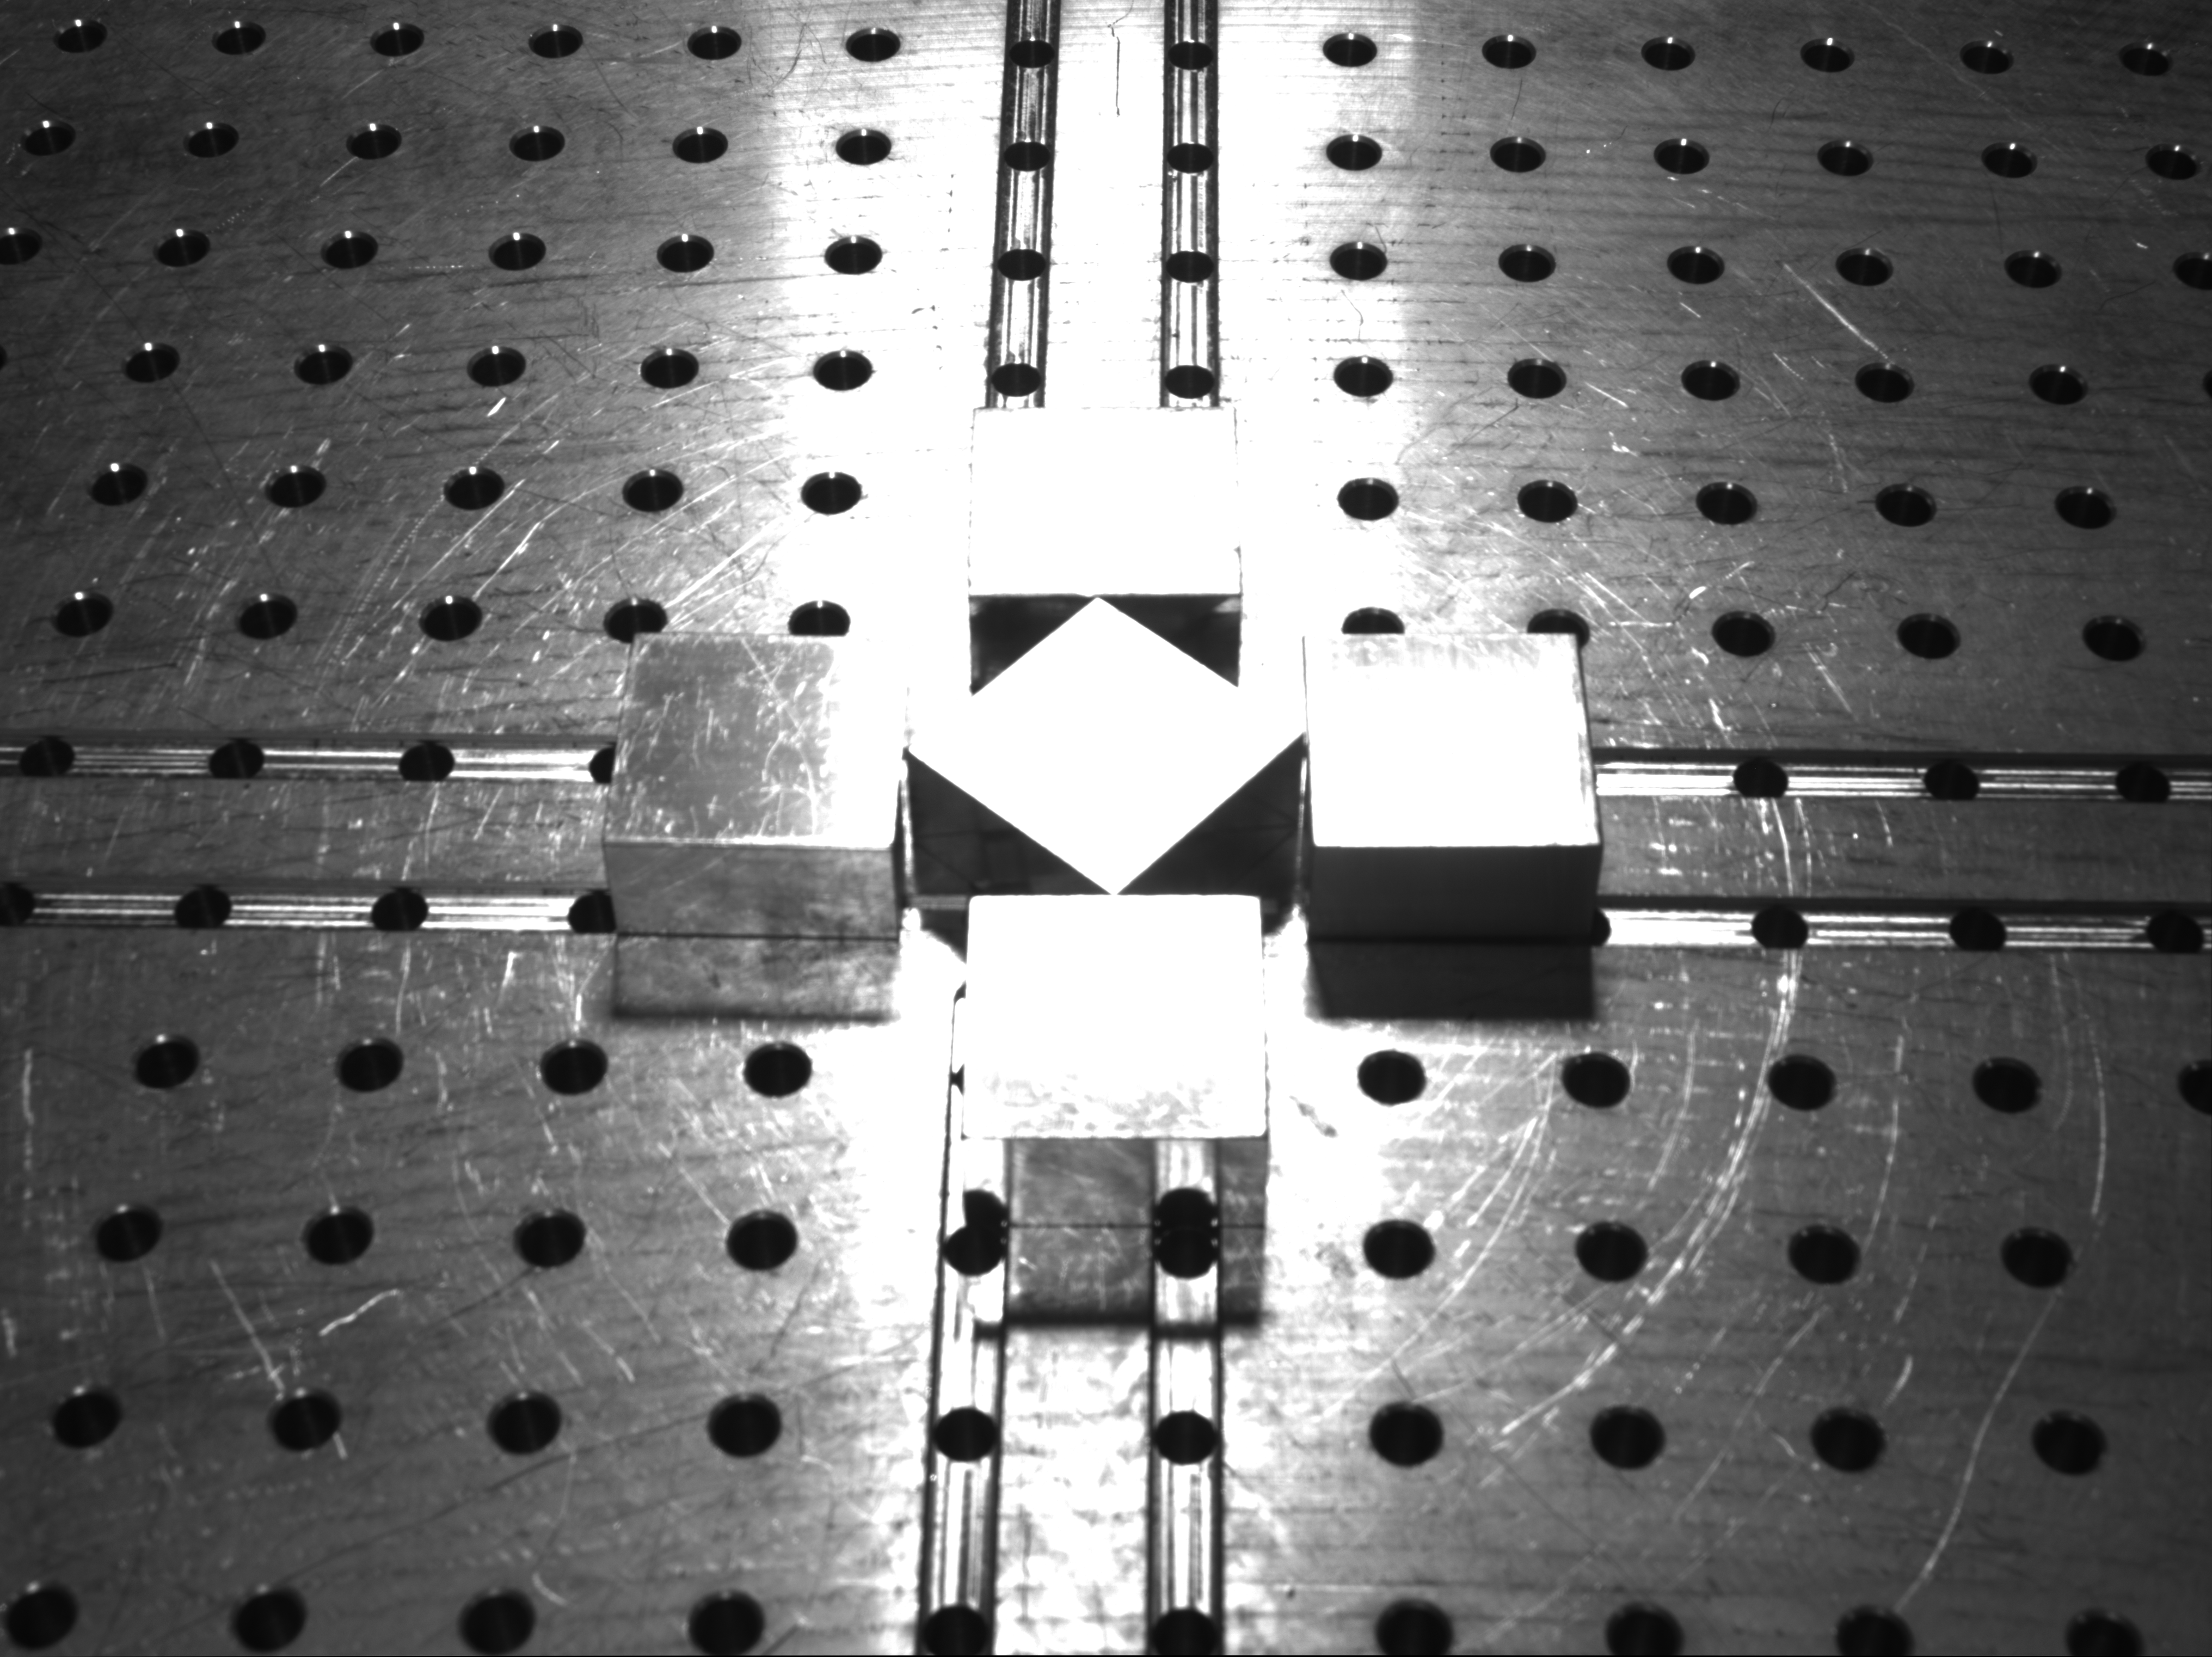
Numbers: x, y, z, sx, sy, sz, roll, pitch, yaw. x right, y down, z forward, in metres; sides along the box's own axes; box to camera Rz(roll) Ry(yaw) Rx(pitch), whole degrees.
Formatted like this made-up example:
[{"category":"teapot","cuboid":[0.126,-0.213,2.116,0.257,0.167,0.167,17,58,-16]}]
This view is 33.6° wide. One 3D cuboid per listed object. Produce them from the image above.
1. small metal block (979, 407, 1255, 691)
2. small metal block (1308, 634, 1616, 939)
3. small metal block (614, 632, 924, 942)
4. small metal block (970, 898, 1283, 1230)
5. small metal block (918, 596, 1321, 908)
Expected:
[{"category":"small metal block","cuboid":[0.002,-0.053,0.690,0.050,0.025,0.050,0,50,0]},{"category":"small metal block","cuboid":[0.062,-0.008,0.652,0.050,0.025,0.050,0,50,0]},{"category":"small metal block","cuboid":[-0.058,-0.008,0.651,0.050,0.025,0.050,1,50,1]},{"category":"small metal block","cuboid":[0.004,0.039,0.612,0.050,0.025,0.050,0,50,0]},{"category":"small metal block","cuboid":[0.002,-0.007,0.651,0.050,0.025,0.050,35,58,26]}]
